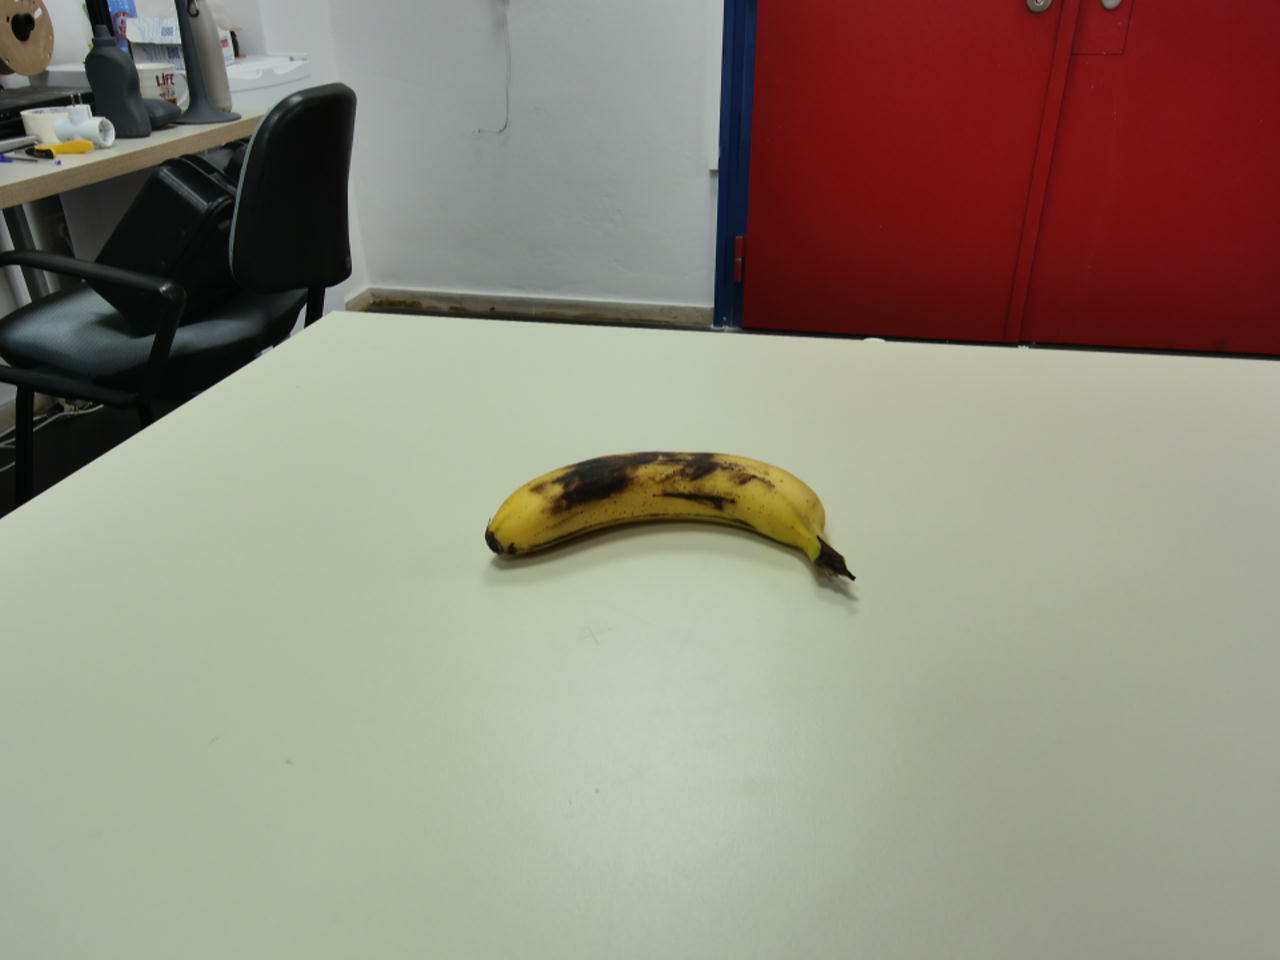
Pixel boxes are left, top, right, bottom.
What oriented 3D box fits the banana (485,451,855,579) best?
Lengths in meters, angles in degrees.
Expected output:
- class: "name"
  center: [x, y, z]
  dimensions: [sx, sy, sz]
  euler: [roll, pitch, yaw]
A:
- class: "banana"
  center: [0.019, 0.015, 0.539]
  dimensions: [0.187, 0.039, 0.094]
  euler: [5, 26, 9]
